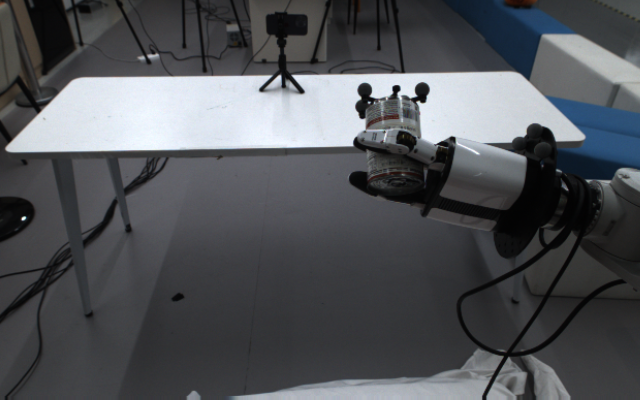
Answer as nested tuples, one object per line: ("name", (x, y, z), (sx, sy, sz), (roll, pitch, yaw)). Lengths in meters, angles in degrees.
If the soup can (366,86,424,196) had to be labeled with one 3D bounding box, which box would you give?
("soup can", (0.090, -0.063, 0.578), (0.067, 0.067, 0.101), (1, 72, -2))
